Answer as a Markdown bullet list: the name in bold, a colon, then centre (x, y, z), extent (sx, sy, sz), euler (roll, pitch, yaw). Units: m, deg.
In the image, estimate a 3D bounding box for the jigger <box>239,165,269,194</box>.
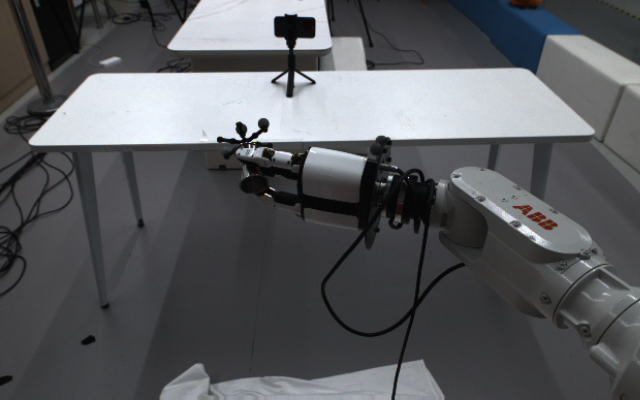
- **jigger**: centre (-0.103, -0.049, 0.723), extent (0.043, 0.043, 0.071), euler (-8, 56, -14)
